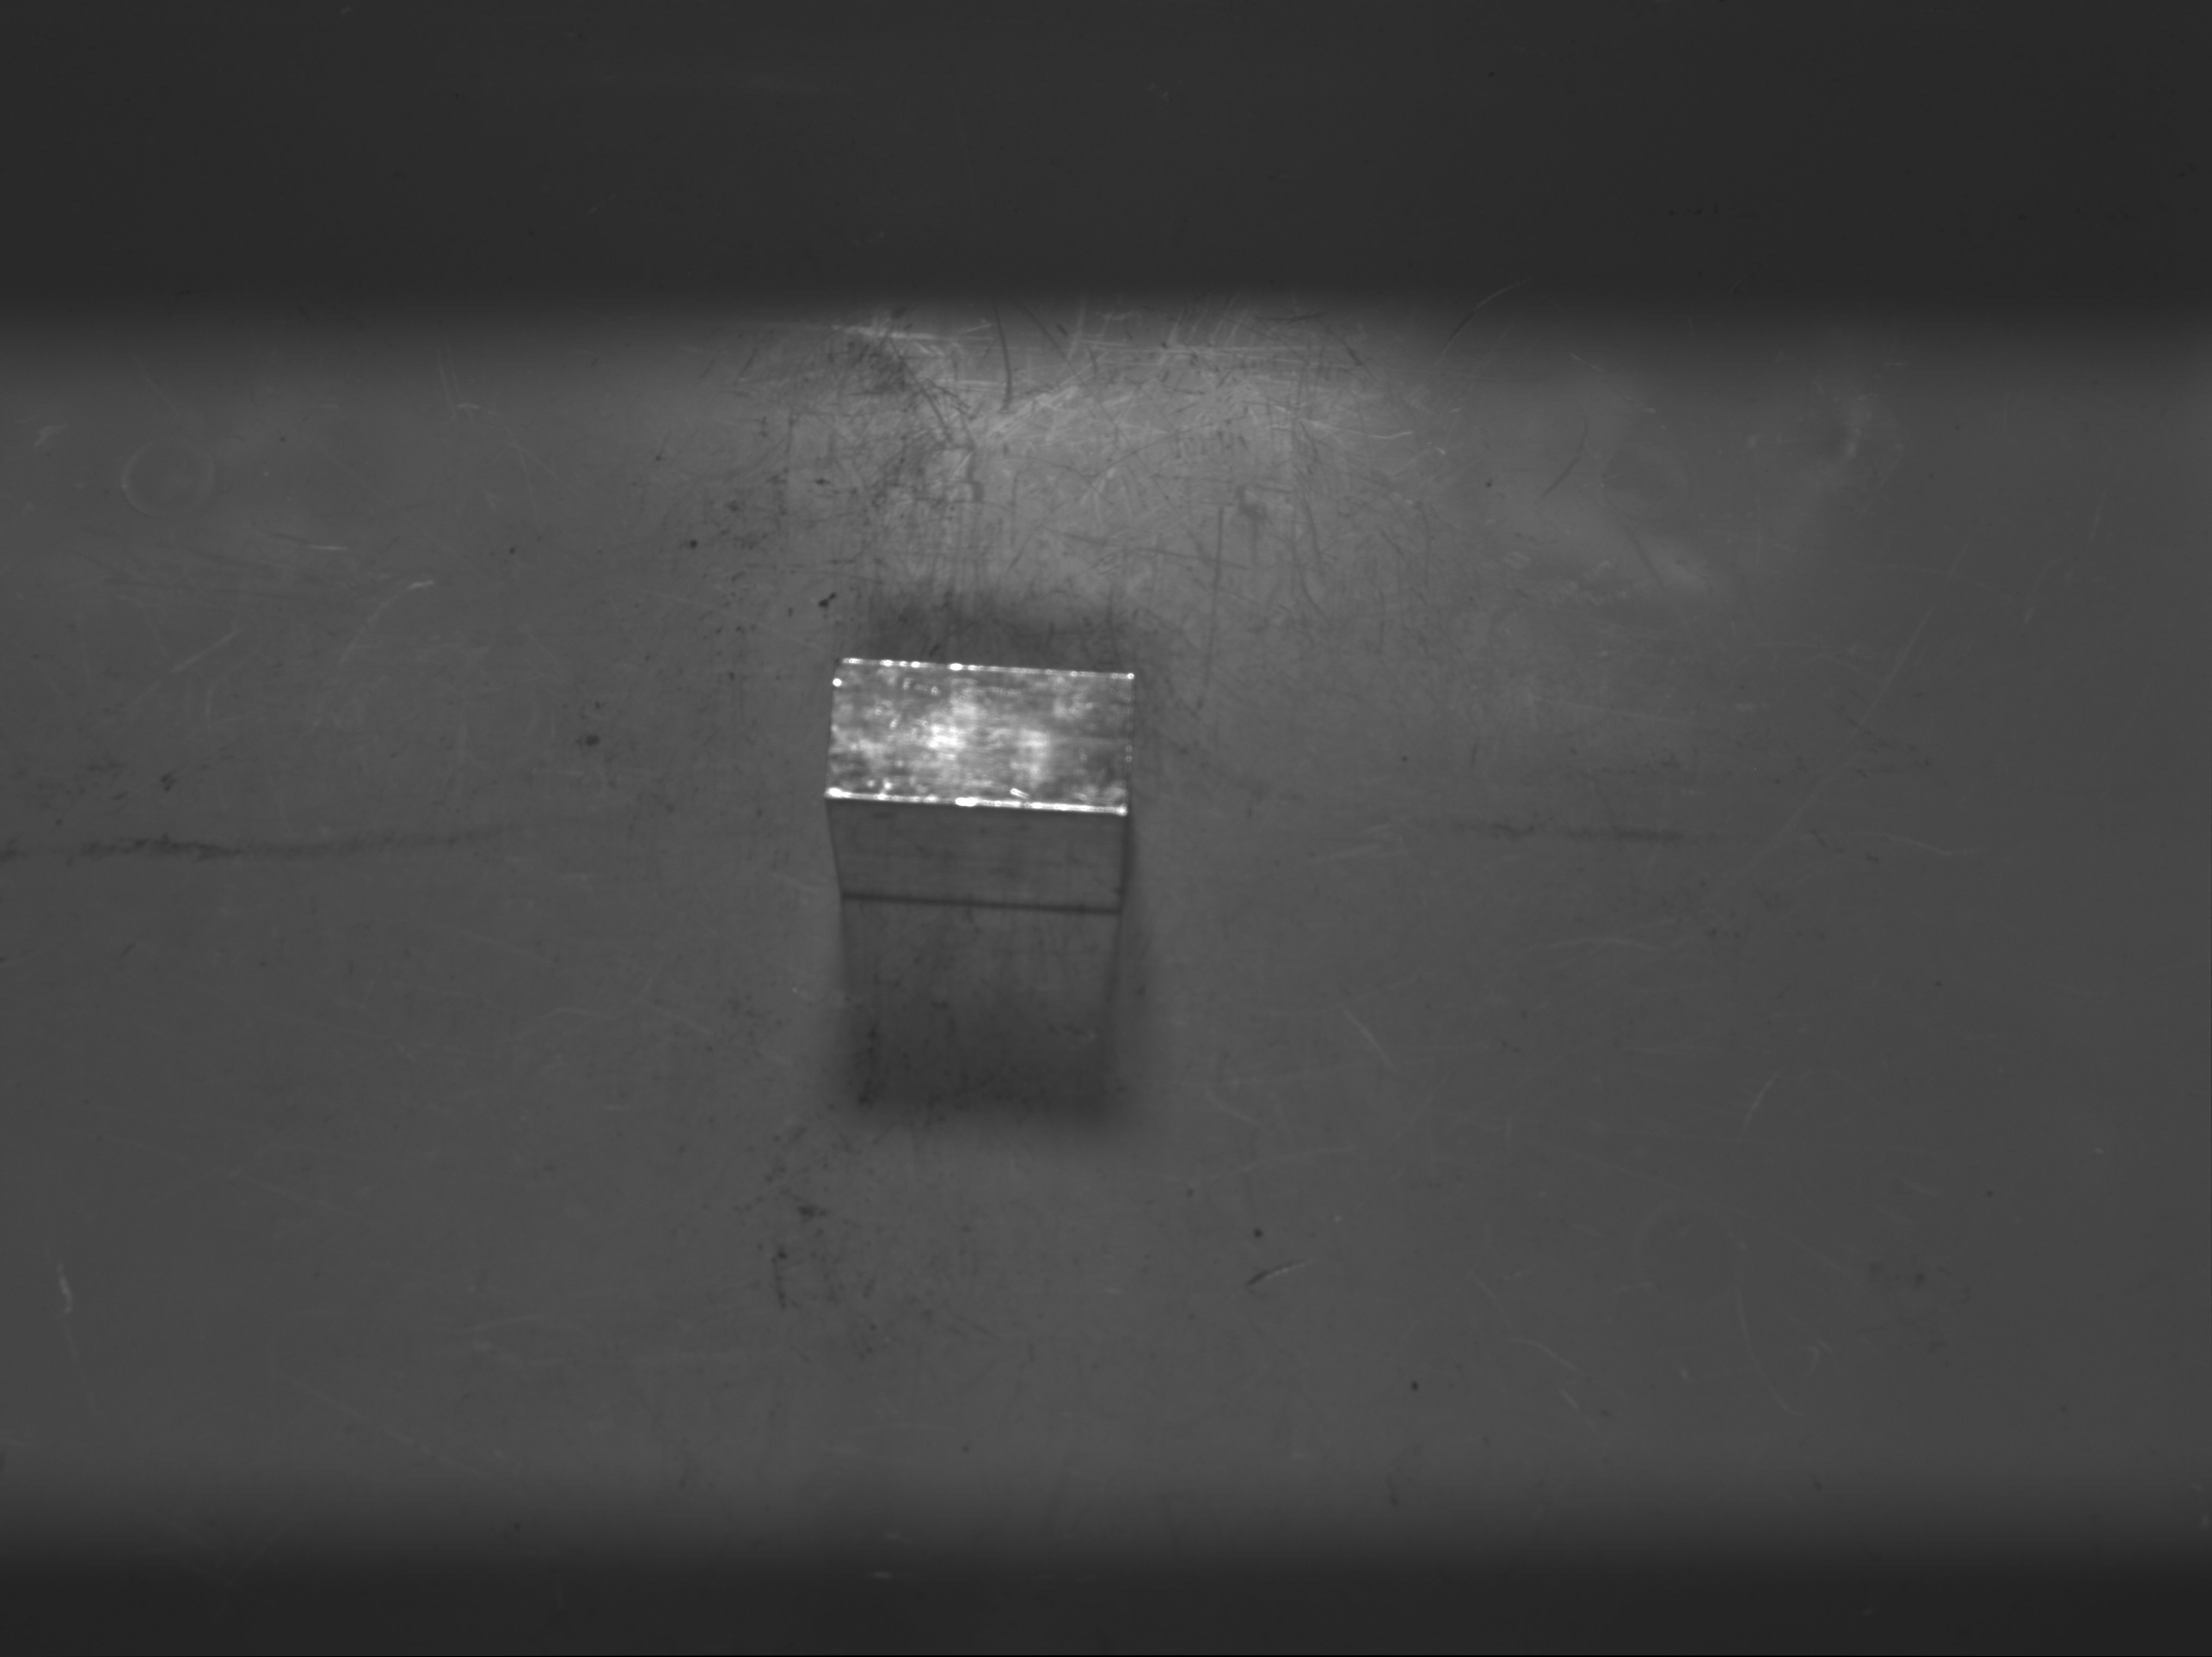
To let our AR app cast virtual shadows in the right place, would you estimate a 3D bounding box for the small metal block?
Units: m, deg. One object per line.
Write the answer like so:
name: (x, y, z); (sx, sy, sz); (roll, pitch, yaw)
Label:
small metal block: (-0.014, -0.007, 0.631); (0.050, 0.050, 0.025); (3, 69, 1)
